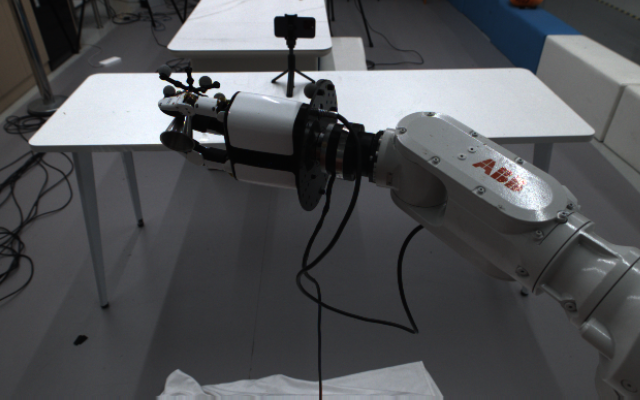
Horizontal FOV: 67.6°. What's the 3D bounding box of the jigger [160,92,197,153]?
[{"bbox_3d":[-0.178,-0.105,0.627,0.043,0.043,0.071,4,61,2],"label":"jigger"}]
